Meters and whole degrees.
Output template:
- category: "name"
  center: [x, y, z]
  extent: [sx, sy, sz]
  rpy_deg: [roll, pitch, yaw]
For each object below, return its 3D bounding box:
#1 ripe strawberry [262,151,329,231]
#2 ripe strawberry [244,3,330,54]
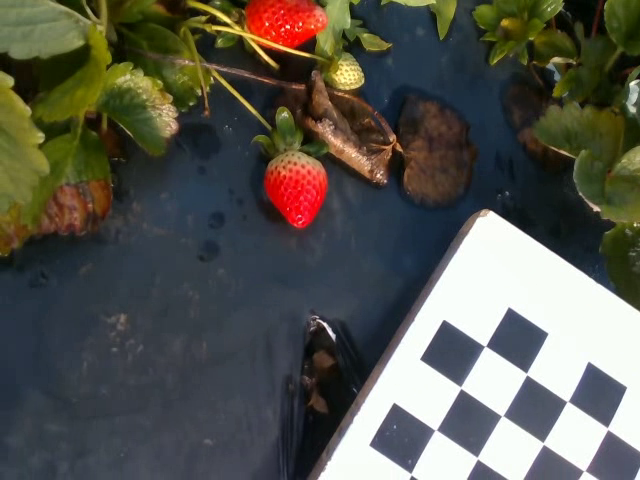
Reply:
- category: "ripe strawberry"
  center: [-0.012, -0.025, 0.308]
  extent: [0.035, 0.043, 0.030]
  rpy_deg: [-2, -12, -10]
- category: "ripe strawberry"
  center: [-0.015, -0.115, 0.319]
  extent: [0.048, 0.040, 0.031]
  rpy_deg: [11, -14, 36]
